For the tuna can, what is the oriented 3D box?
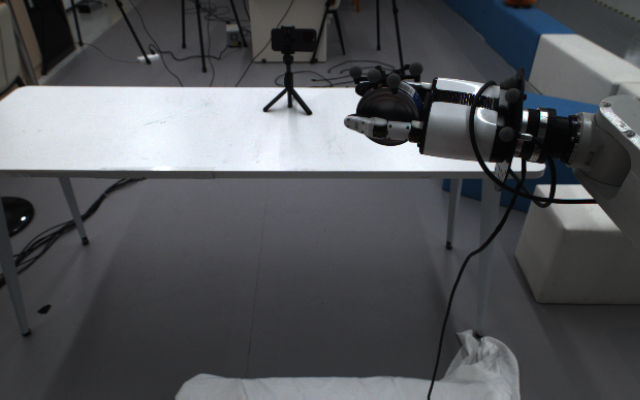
[{"bbox_3d":[0.095,-0.120,0.653,0.085,0.085,0.034,14,41,16],"label":"tuna can"}]
